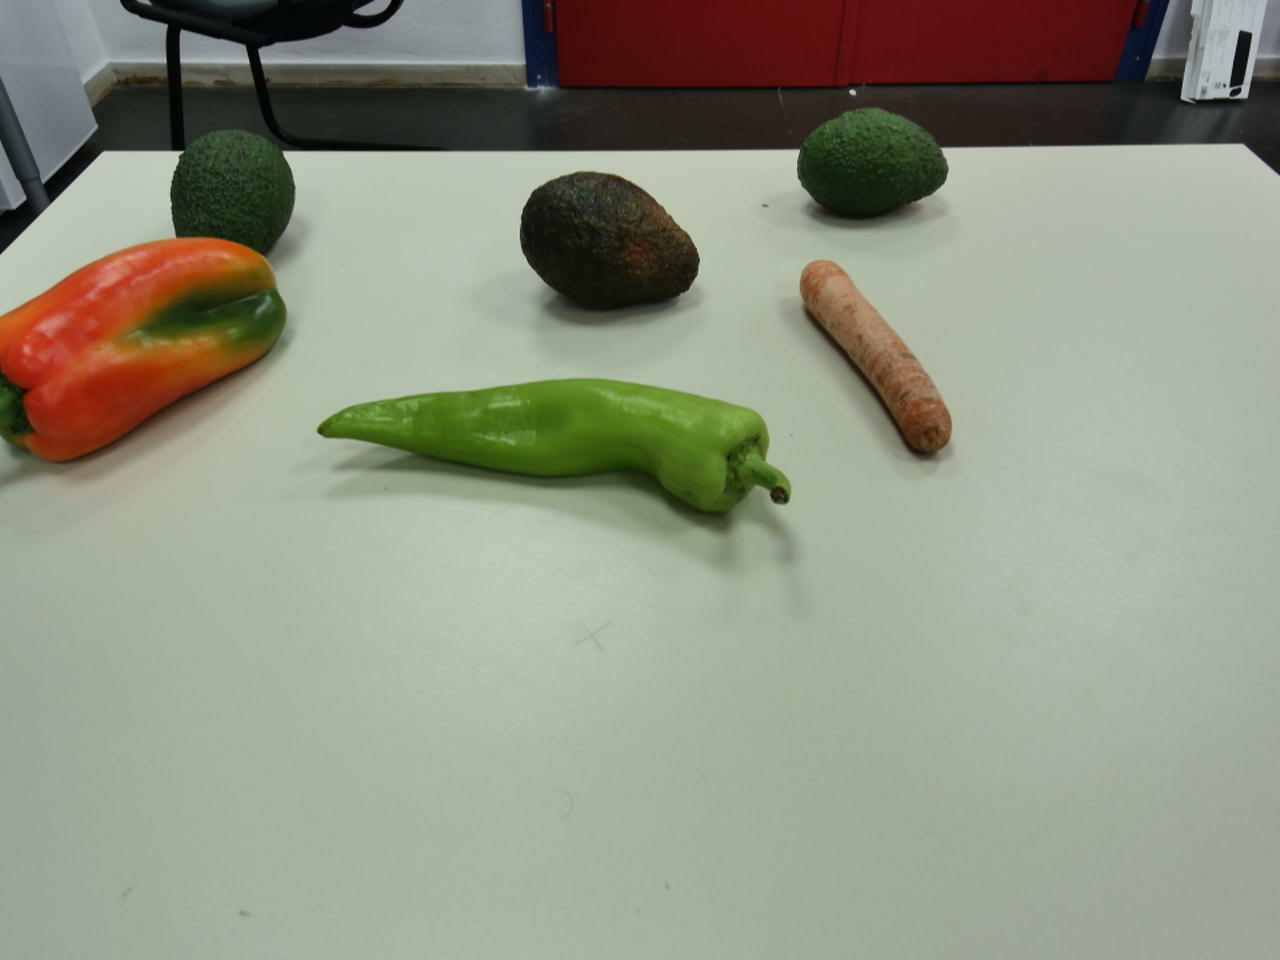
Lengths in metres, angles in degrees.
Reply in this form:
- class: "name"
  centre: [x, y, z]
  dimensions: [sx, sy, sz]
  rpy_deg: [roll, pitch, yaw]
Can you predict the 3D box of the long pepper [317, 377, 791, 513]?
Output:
- class: "long pepper"
  centre: [-0.032, -0.021, 0.435]
  dimensions: [0.205, 0.045, 0.065]
  rpy_deg: [10, 40, 13]
